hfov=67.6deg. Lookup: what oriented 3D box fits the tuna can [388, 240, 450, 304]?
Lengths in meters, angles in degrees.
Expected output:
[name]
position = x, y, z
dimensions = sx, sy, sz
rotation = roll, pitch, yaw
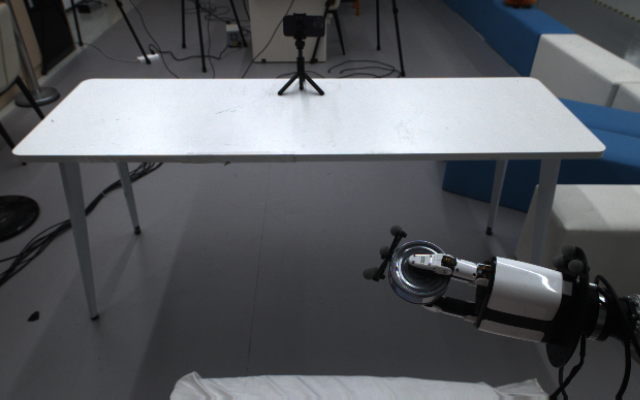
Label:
[tuna can]
position = 0.143, 0.099, 0.680
dimensions = 0.085, 0.034, 0.085
rotation = -1, 61, 1
